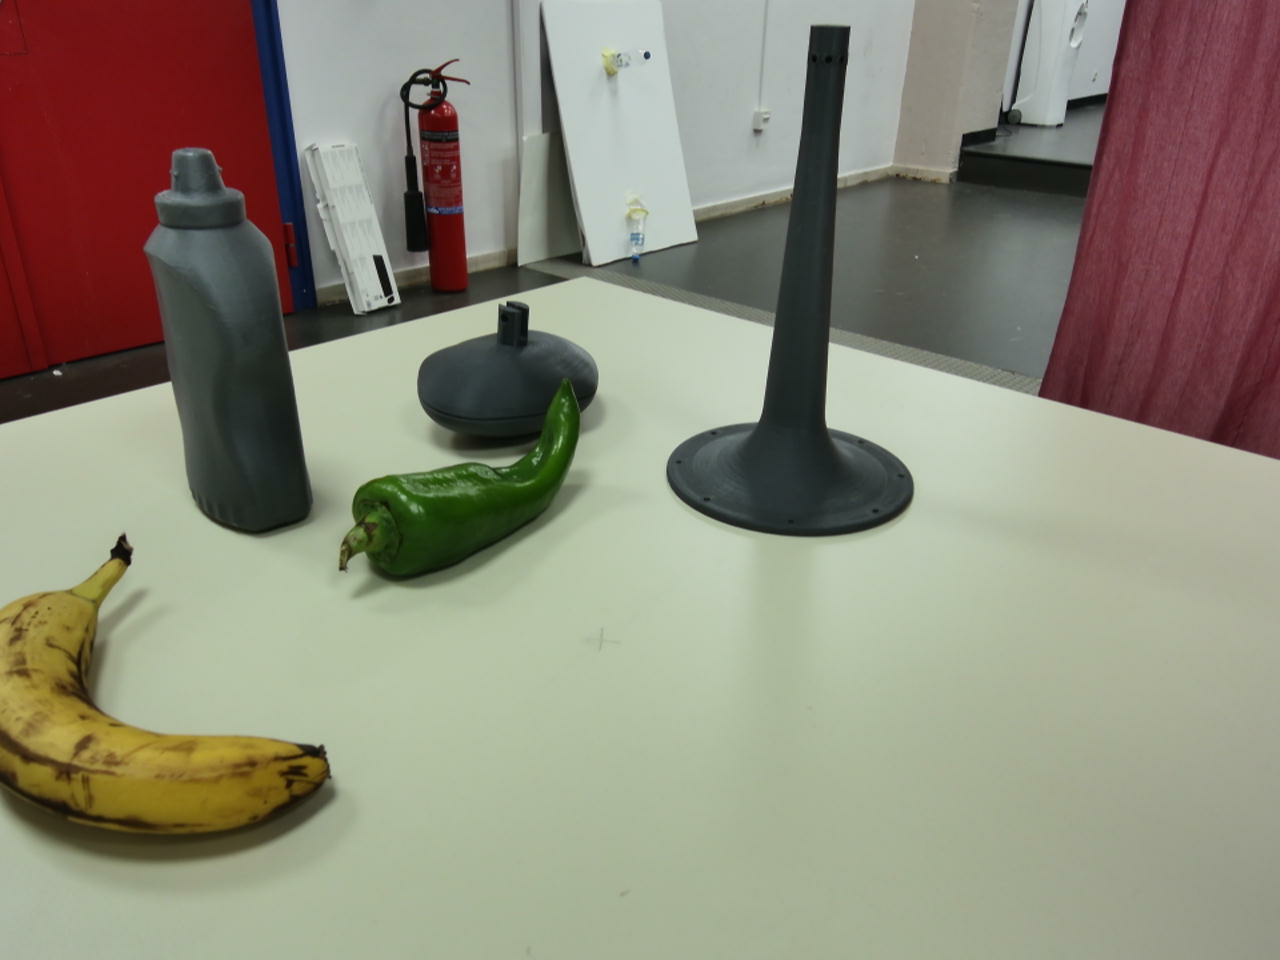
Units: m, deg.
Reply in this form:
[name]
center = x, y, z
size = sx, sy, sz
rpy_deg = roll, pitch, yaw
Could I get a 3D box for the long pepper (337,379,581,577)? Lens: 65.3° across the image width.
[long pepper]
center = -0.086, 0.000, 0.524
size = 0.058, 0.065, 0.175
rpy_deg = 19, 31, 35
